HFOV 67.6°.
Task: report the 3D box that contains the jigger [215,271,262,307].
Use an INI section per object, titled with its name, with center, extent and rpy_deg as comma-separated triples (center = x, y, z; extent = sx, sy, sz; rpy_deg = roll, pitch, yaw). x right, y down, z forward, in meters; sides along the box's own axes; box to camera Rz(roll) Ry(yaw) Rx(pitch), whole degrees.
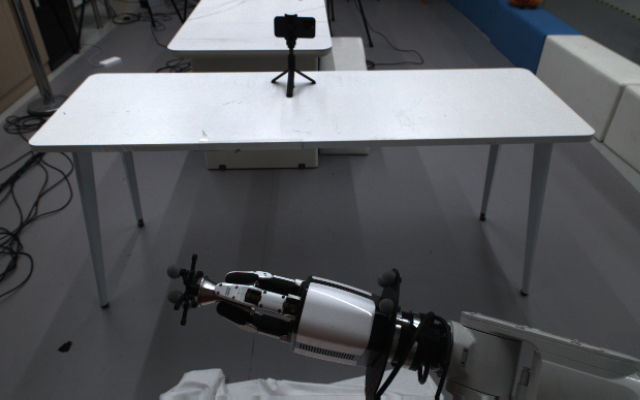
[jigger]
center = -0.107, 0.115, 0.612
extent = 0.071, 0.043, 0.043
rpy_deg = 6, 35, 2
